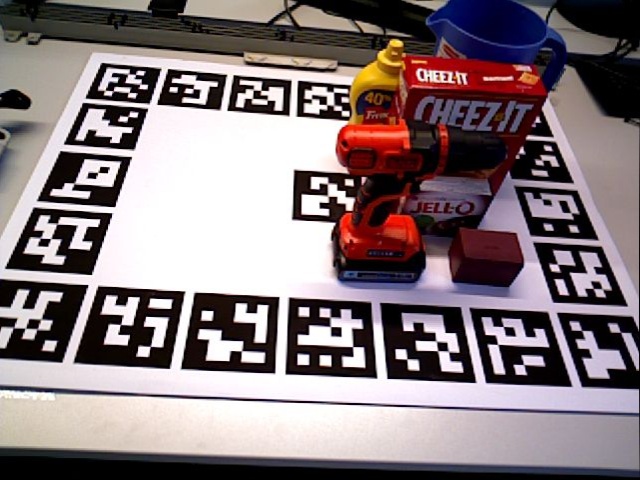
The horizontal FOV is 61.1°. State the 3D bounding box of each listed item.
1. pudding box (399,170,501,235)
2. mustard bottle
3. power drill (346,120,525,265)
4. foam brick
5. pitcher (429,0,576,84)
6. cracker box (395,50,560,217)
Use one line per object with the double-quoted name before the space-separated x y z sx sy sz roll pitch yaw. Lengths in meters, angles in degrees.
"pudding box" 0.163 -0.051 0.699 0.113 0.092 0.038 3 50 -1
"mustard bottle" 0.089 -0.203 0.747 0.096 0.196 0.057 14 52 4
"power drill" 0.110 -0.051 0.603 0.183 0.191 0.056 3 48 -6
"foam brick" 0.217 0.023 0.690 0.077 0.052 0.052 5 53 -3
"pitcher" 0.222 -0.202 0.747 0.188 0.248 0.131 7 51 1
"cracker box" 0.176 -0.123 0.687 0.163 0.218 0.071 1 50 -4
